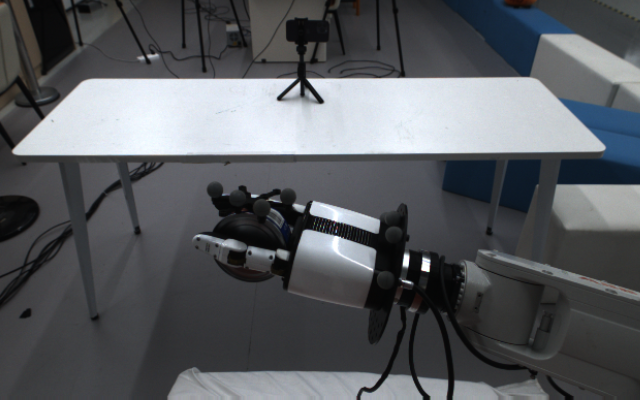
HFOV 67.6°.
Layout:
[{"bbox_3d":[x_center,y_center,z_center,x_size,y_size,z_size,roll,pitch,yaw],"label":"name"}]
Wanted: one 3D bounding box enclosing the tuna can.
[{"bbox_3d":[-0.073,0.047,0.537,0.085,0.085,0.034,6,22,6],"label":"tuna can"}]
